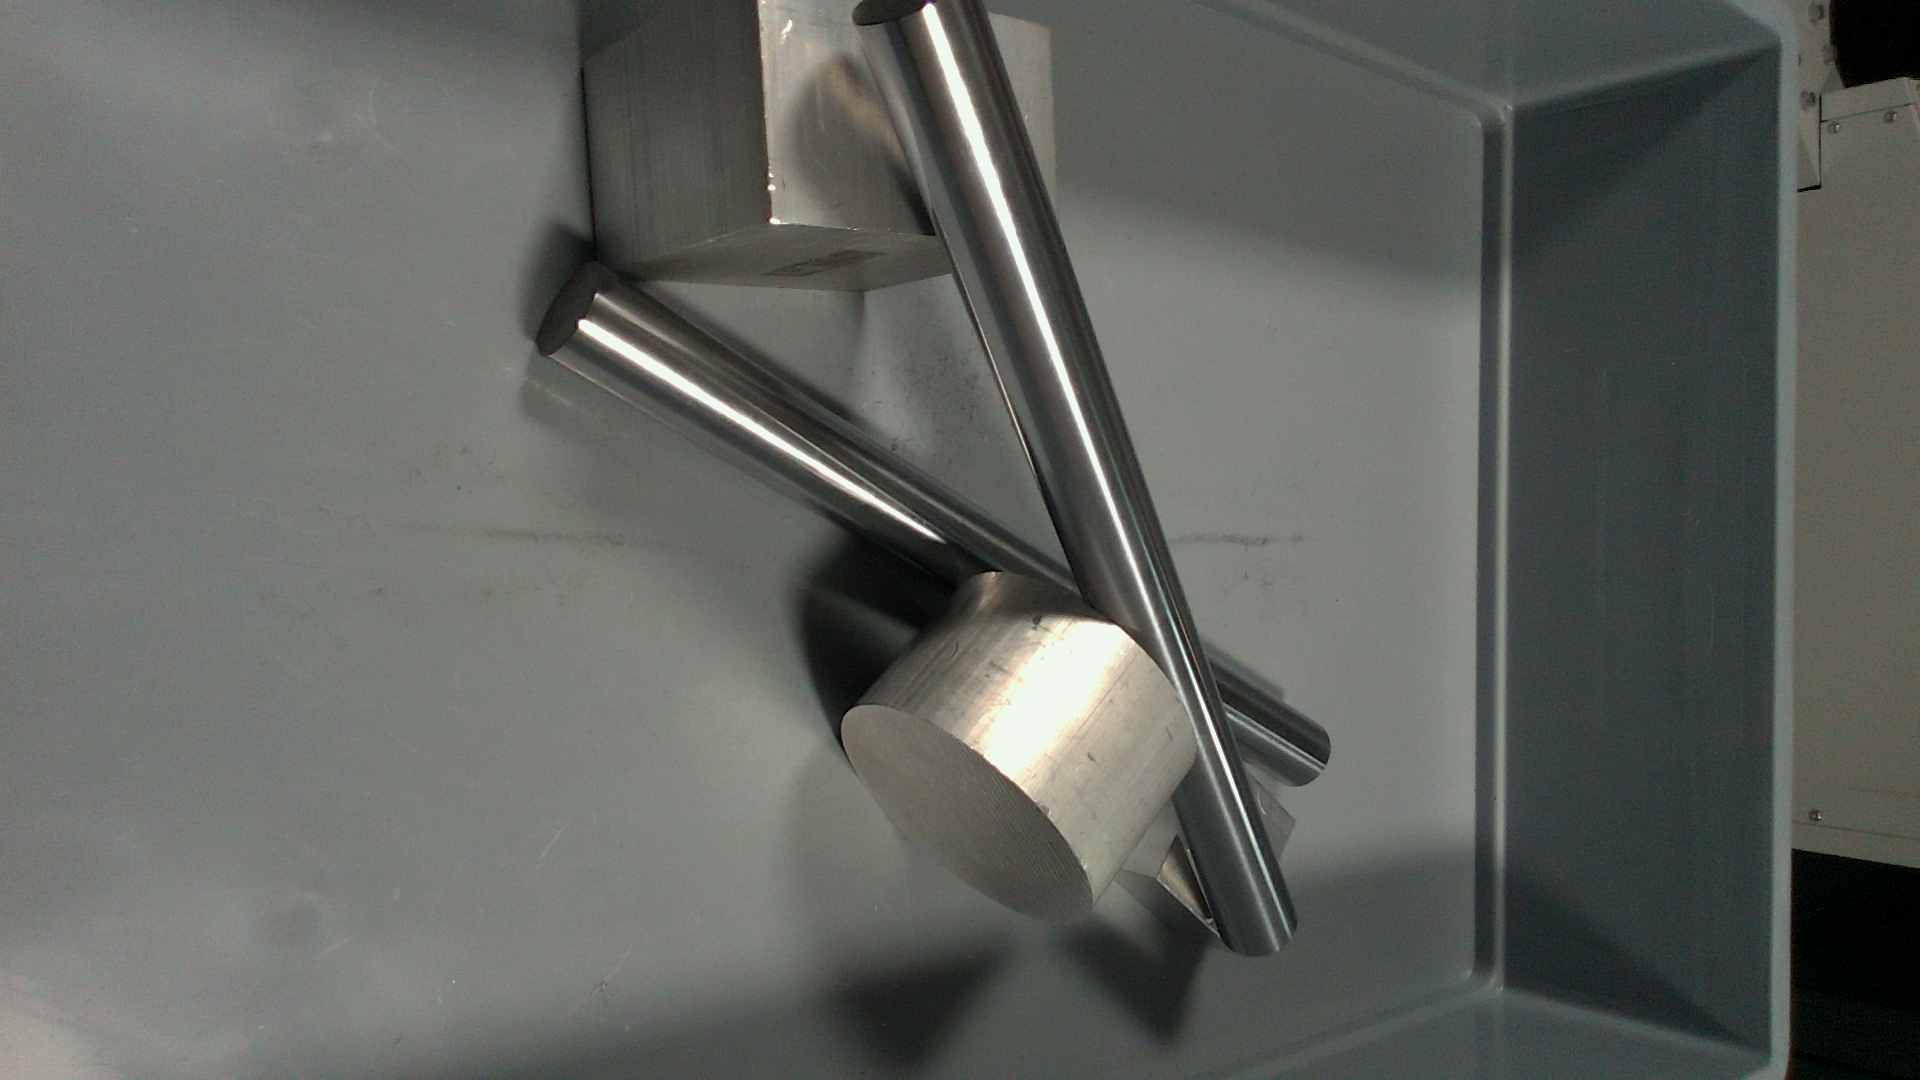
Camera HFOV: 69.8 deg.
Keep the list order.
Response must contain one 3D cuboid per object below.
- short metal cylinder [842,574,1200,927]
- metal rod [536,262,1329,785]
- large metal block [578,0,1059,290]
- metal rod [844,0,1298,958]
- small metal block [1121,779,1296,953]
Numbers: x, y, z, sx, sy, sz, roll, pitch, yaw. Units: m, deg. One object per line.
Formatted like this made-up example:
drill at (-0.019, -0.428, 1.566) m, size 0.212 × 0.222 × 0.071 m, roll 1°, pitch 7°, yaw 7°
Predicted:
short metal cylinder at (0.016, 0.056, 0.364) m, size 0.050 × 0.080 × 0.080 m, roll -47°, pitch 118°, yaw -29°
metal rod at (0.015, 0.011, 0.400) m, size 0.301 × 0.025 × 0.025 m, roll 31°, pitch 71°, yaw -35°
large metal block at (-0.034, -0.091, 0.325) m, size 0.080 × 0.080 × 0.050 m, roll -5°, pitch 93°, yaw -40°
metal rod at (0.042, 0.008, 0.347) m, size 0.025 × 0.025 × 0.300 m, roll -47°, pitch 130°, yaw -29°
small metal block at (0.079, 0.100, 0.453) m, size 0.050 × 0.025 × 0.050 m, roll 45°, pitch 63°, yaw -30°
